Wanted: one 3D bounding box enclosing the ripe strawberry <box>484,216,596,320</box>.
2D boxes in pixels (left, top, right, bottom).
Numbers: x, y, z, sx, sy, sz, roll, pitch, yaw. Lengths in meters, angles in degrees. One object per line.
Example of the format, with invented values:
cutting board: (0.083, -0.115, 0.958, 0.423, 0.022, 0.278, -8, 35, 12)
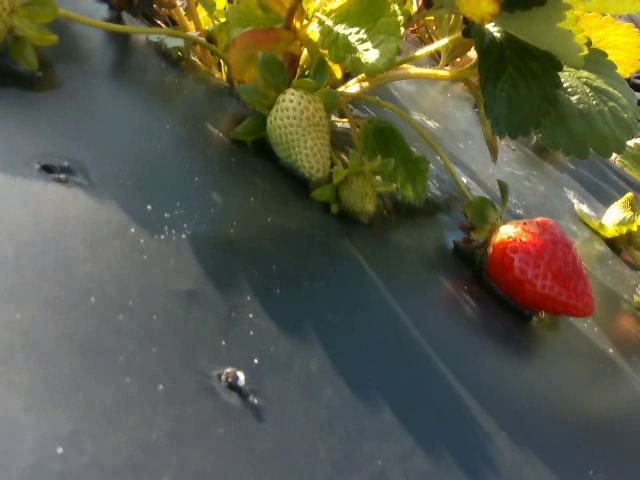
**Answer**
ripe strawberry: (0.071, 0.011, 0.191, 0.030, 0.045, 0.033, -28, -34, -14)
